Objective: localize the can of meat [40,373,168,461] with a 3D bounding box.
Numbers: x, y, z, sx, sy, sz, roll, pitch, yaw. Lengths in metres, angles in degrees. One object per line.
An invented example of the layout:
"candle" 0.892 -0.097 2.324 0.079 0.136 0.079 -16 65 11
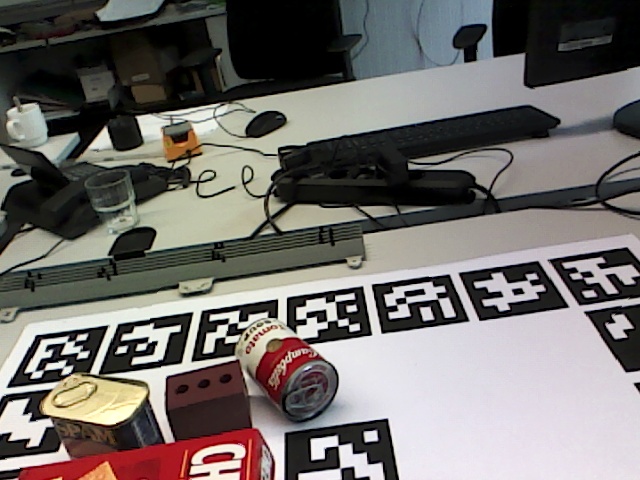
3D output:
"can of meat" -0.205 0.180 0.600 0.102 0.083 0.058 -1 33 14

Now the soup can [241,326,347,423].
"soup can" -0.030 0.138 0.651 0.067 0.067 0.103 -30 31 -29

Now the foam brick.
"foam brick" -0.109 0.165 0.633 0.078 0.051 0.053 -14 32 -6

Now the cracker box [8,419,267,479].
"cracker box" -0.148 0.240 0.474 0.213 0.072 0.165 -14 30 0
